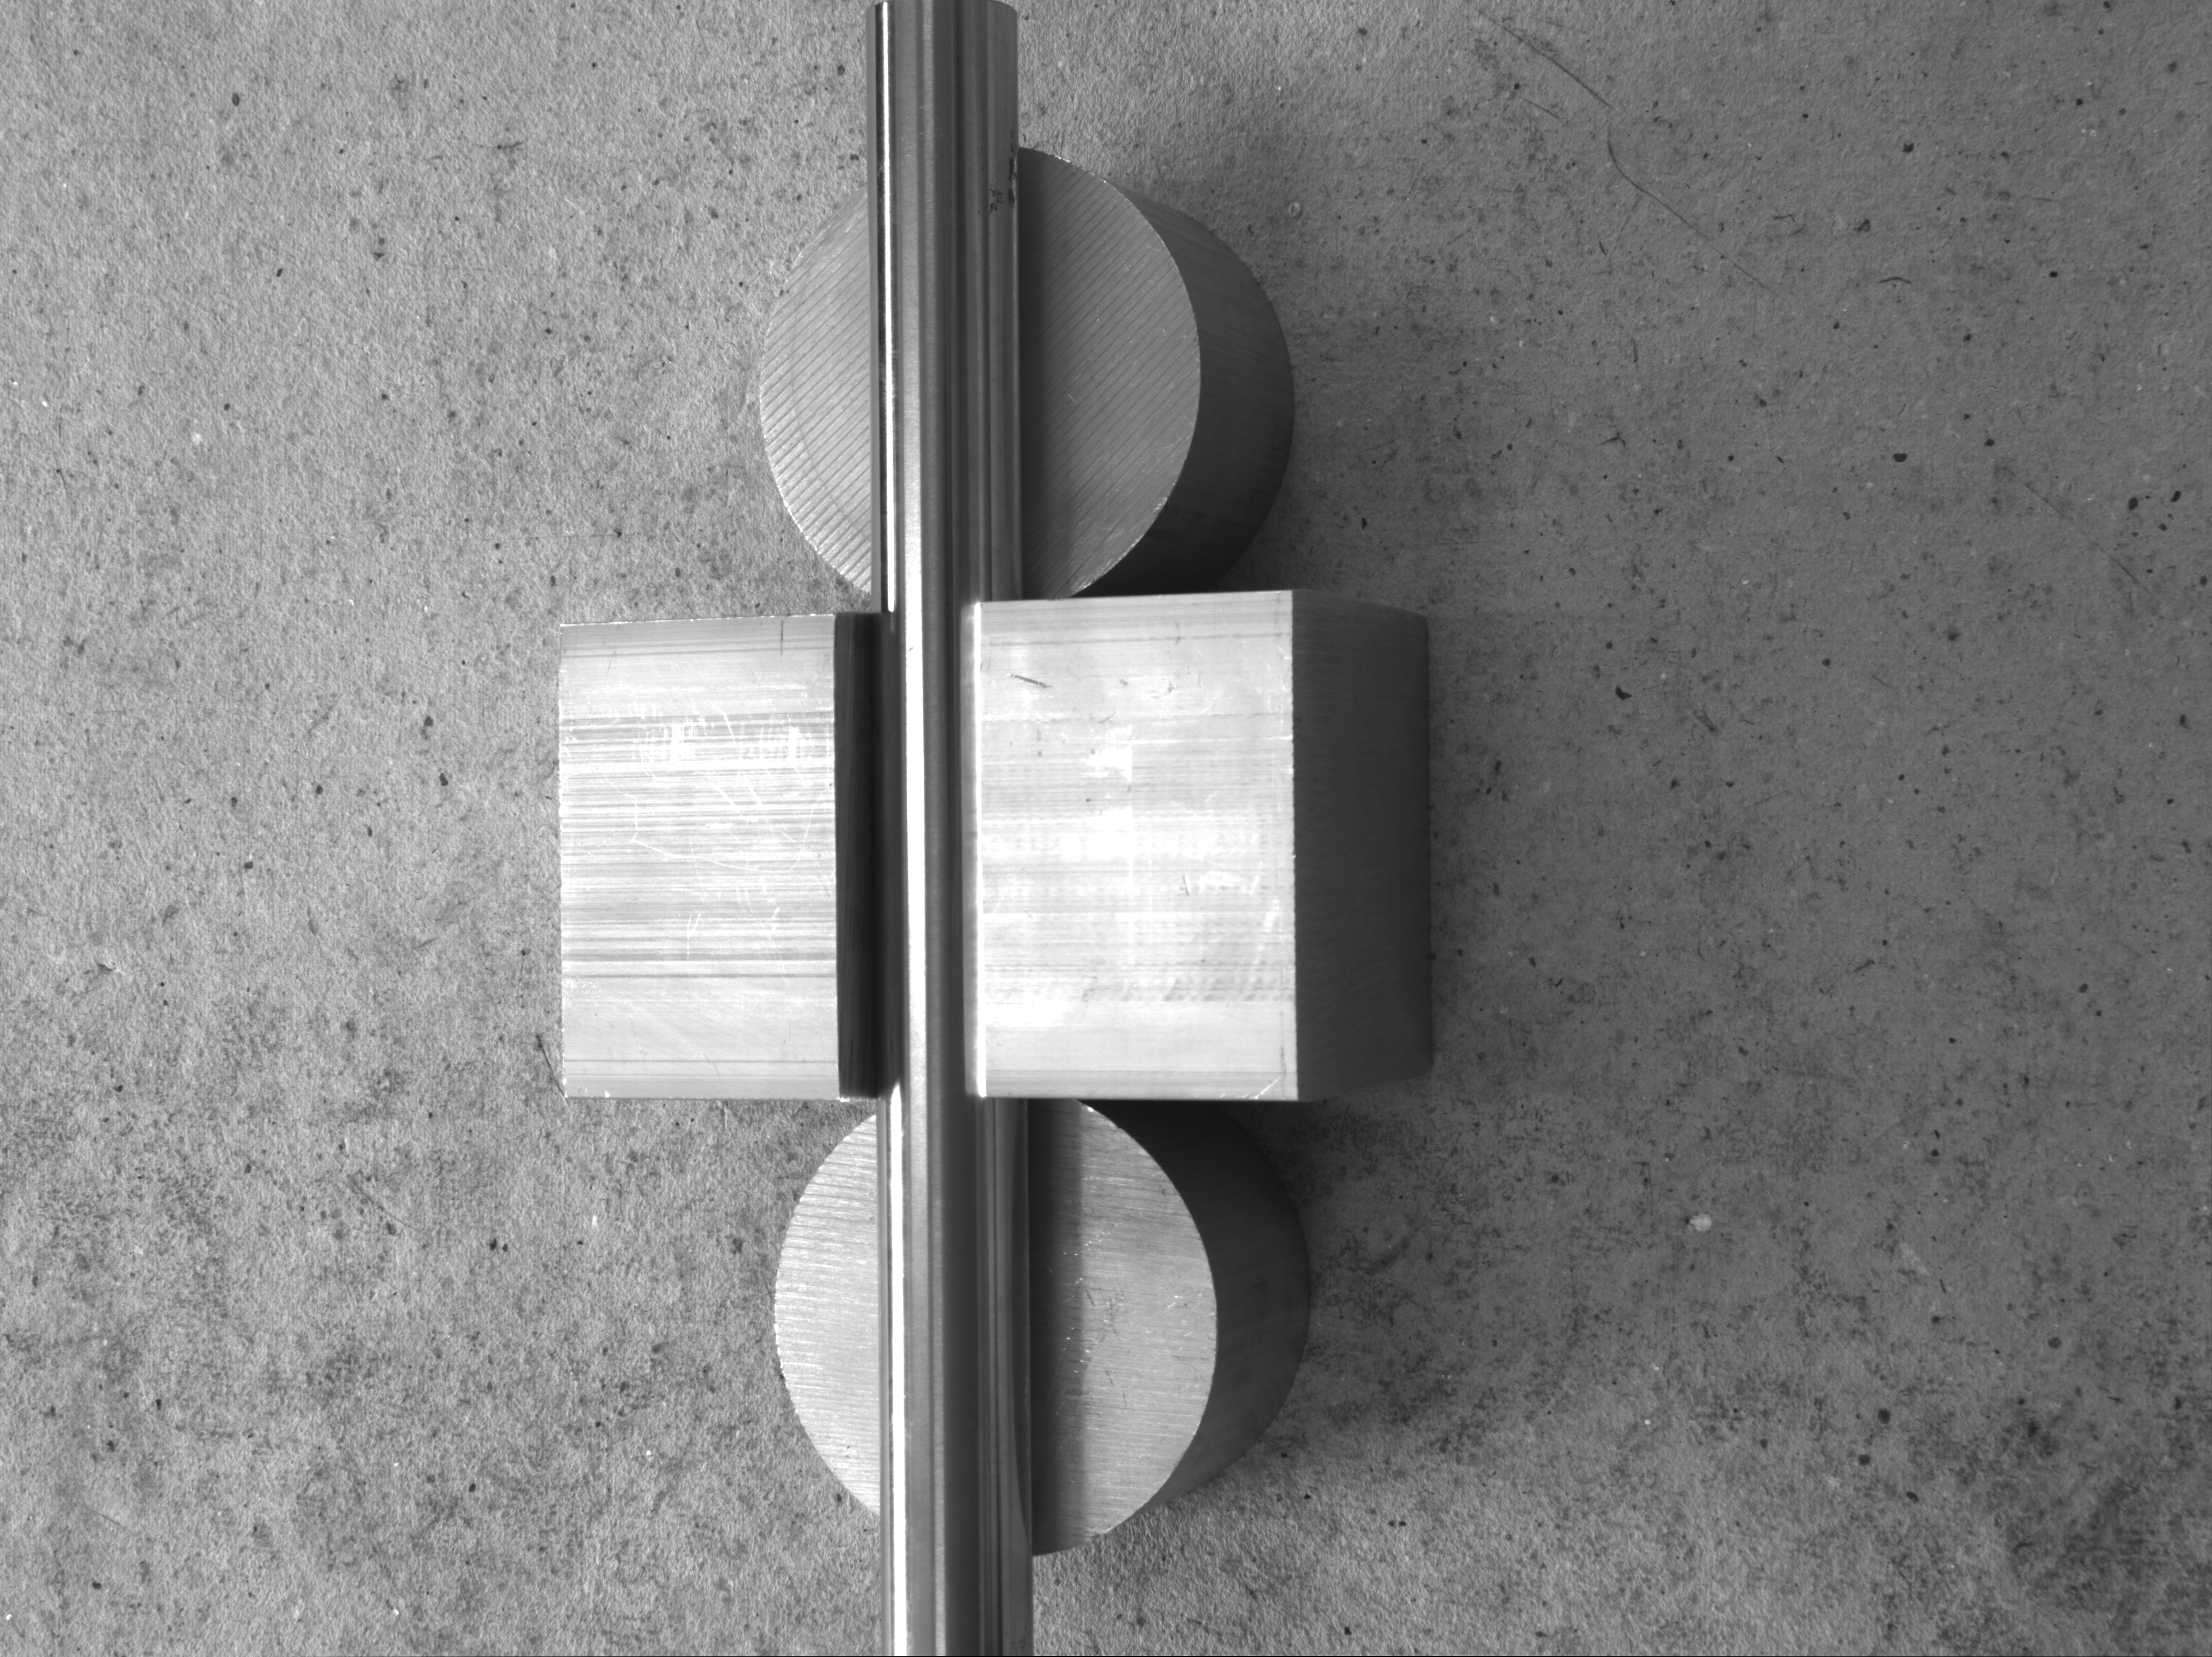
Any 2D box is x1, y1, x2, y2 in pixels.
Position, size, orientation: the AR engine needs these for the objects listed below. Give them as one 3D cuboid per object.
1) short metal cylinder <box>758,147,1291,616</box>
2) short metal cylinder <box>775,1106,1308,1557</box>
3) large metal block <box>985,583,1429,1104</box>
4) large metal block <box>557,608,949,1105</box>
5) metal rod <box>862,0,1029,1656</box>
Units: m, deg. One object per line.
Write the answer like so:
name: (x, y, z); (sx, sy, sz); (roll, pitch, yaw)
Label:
short metal cylinder: (-0.013, -0.075, 0.639); (0.080, 0.050, 0.080); (0, 89, 20)
short metal cylinder: (-0.010, 0.082, 0.638); (0.080, 0.050, 0.080); (0, 89, 20)
large metal block: (0.019, 0.003, 0.611); (0.050, 0.080, 0.080); (-1, 89, 20)
large metal block: (-0.053, 0.005, 0.637); (0.050, 0.080, 0.080); (-1, 89, 20)
metal rod: (-0.026, 0.016, 0.603); (0.025, 0.025, 0.300); (-1, 89, 20)
